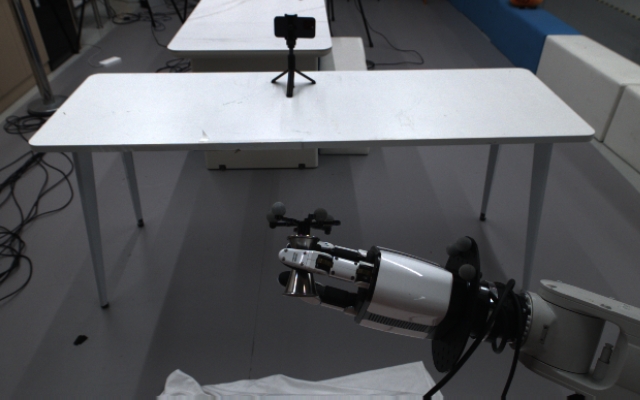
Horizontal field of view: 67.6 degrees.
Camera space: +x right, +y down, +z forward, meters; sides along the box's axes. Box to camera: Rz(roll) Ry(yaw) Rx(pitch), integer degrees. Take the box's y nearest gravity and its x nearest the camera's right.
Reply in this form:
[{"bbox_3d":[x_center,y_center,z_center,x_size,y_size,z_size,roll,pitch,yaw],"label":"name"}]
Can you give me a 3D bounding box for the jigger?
[{"bbox_3d":[-0.021,0.077,0.566,0.043,0.043,0.071,3,76,1],"label":"jigger"}]
